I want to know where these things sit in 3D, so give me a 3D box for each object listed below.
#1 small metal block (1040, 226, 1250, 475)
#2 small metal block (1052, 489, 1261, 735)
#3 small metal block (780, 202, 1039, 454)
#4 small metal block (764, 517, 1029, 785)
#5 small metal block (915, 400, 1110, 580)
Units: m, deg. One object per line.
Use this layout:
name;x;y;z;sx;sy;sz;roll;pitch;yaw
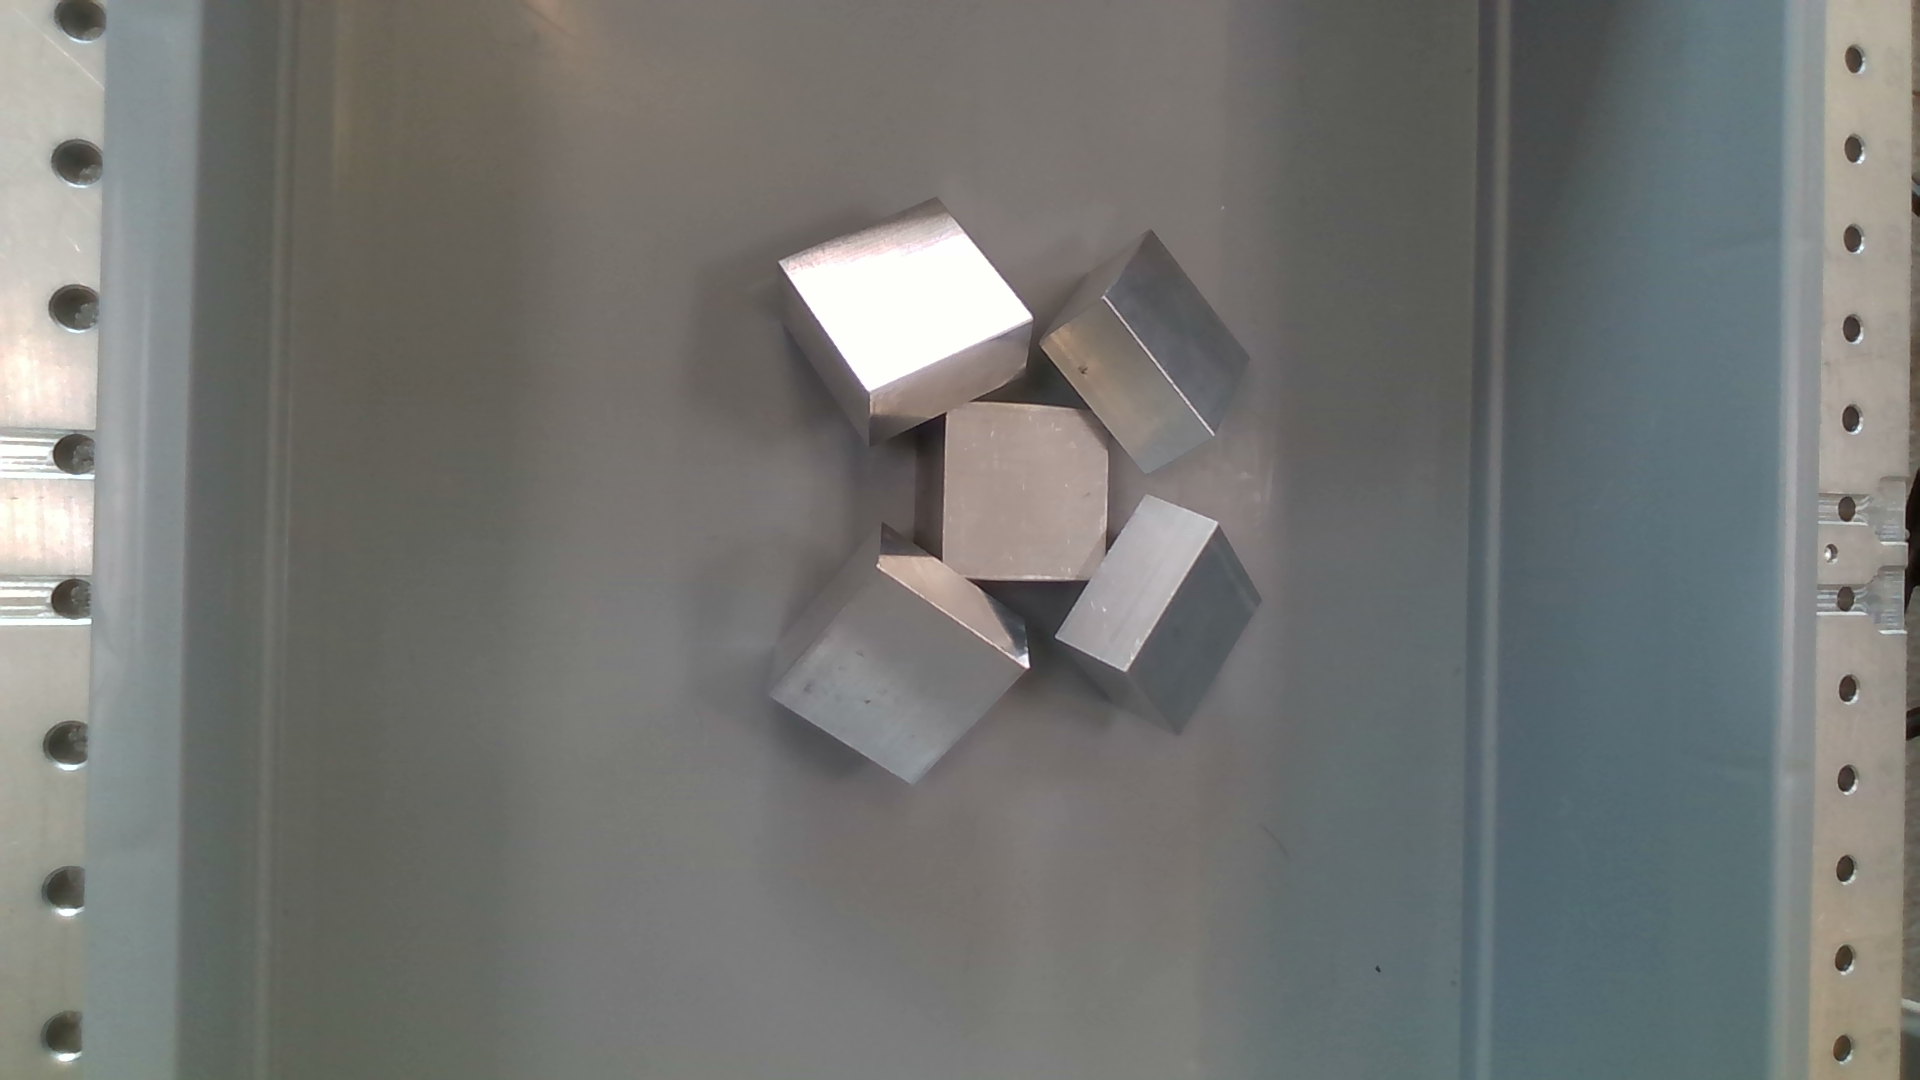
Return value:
small metal block;0.055;-0.056;0.399;0.050;0.025;0.050;49;38;-13
small metal block;0.059;0.022;0.401;0.050;0.025;0.050;-57;144;-11
small metal block;-0.014;-0.059;0.375;0.050;0.025;0.050;-27;61;-18
small metal block;-0.017;0.031;0.374;0.050;0.025;0.050;35;113;-17
small metal block;0.015;-0.014;0.397;0.050;0.025;0.050;2;90;-20
